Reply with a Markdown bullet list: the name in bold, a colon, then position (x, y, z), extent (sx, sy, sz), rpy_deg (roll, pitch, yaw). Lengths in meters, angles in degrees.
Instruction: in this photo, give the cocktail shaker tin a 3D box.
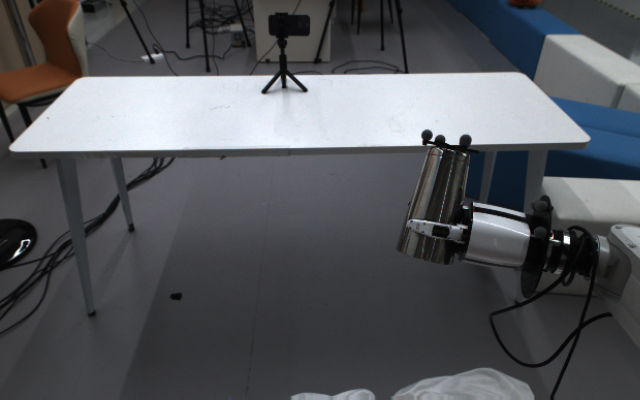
- **cocktail shaker tin**: position (0.185, 0.006, 0.767), extent (0.093, 0.170, 0.093), rpy_deg (13, 4, -1)
